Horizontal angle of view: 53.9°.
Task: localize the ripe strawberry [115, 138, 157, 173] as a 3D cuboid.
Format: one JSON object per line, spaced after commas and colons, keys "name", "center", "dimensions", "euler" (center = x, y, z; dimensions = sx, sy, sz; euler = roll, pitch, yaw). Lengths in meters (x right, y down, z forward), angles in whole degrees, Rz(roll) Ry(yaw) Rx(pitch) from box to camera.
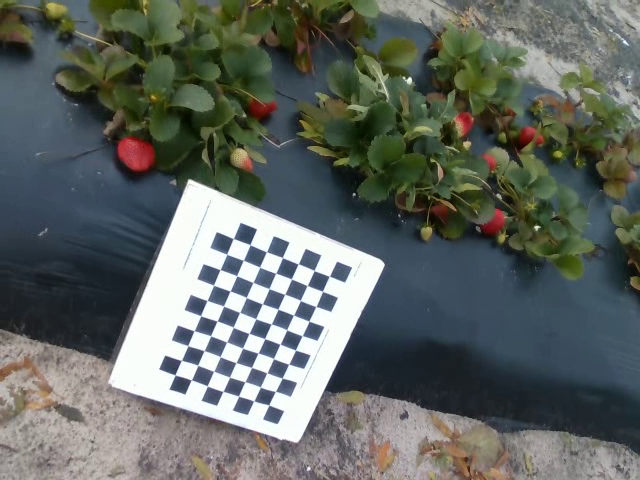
{"name": "ripe strawberry", "center": [-0.182, -0.084, 0.621], "dimensions": [0.037, 0.046, 0.037], "euler": [-21, -34, 0]}
